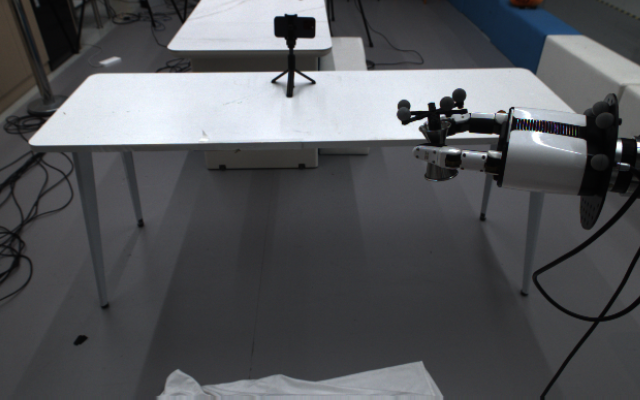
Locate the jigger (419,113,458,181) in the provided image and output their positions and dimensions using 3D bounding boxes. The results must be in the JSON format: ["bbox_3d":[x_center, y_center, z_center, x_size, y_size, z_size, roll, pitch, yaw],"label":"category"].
[{"bbox_3d":[0.152,-0.064,0.629,0.043,0.071,0.043,-11,24,5],"label":"jigger"}]
